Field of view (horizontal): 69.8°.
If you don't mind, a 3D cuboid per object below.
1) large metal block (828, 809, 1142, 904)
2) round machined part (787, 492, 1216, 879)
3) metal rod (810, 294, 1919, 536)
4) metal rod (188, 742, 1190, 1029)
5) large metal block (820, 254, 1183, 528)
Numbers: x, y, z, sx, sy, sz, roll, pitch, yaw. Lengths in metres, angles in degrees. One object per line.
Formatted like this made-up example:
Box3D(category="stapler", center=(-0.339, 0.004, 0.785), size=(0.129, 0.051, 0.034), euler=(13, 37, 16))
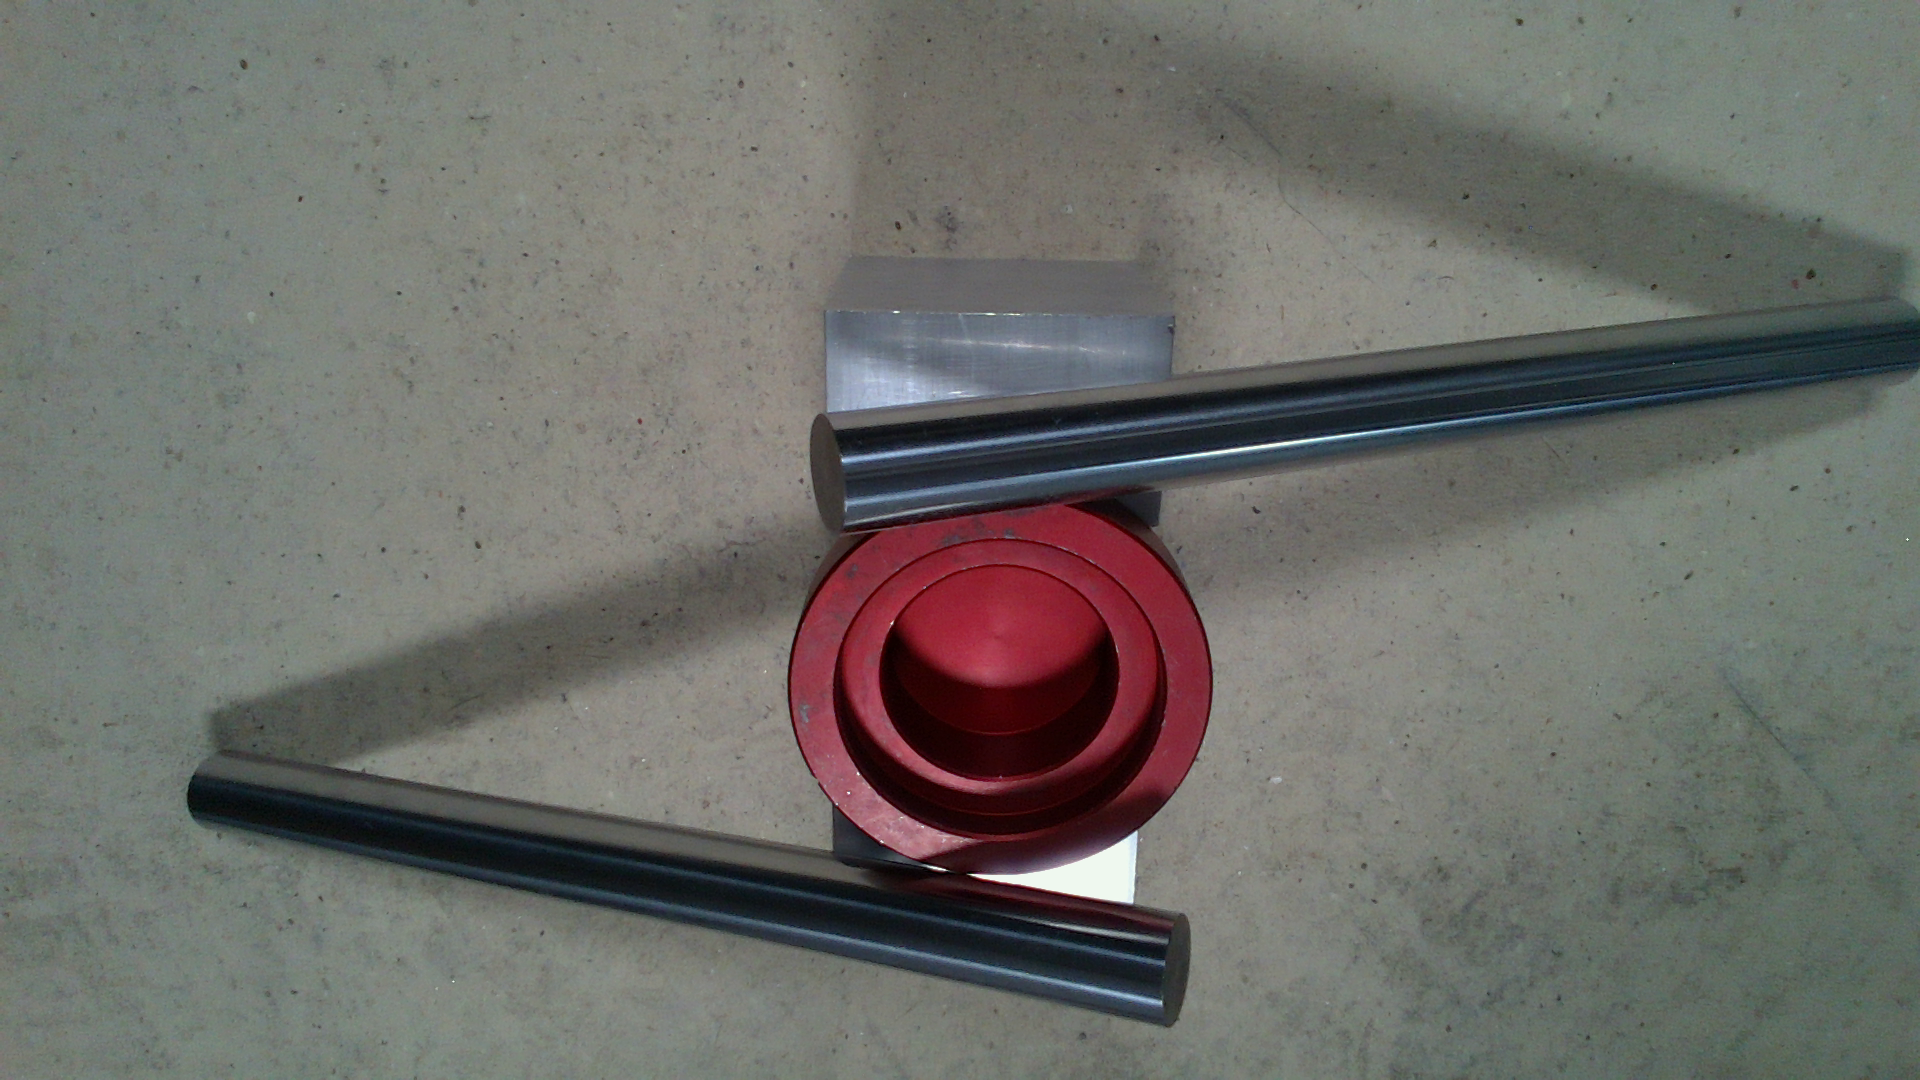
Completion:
Box3D(category="large metal block", center=(0.006, 0.072, 0.391), size=(0.080, 0.080, 0.050), euler=(1, 110, 0))
Box3D(category="round machined part", center=(0.010, 0.029, 0.333), size=(0.098, 0.042, 0.098), euler=(0, 110, 0))
Box3D(category="metal rod", center=(0.113, -0.034, 0.325), size=(0.301, 0.025, 0.025), euler=(-9, 112, -20))
Box3D(category="metal rod", center=(-0.089, 0.086, 0.366), size=(0.299, 0.025, 0.025), euler=(5, 112, 23))
Box3D(category="large metal block", center=(0.009, -0.041, 0.350), size=(0.080, 0.080, 0.050), euler=(1, 110, 0))
